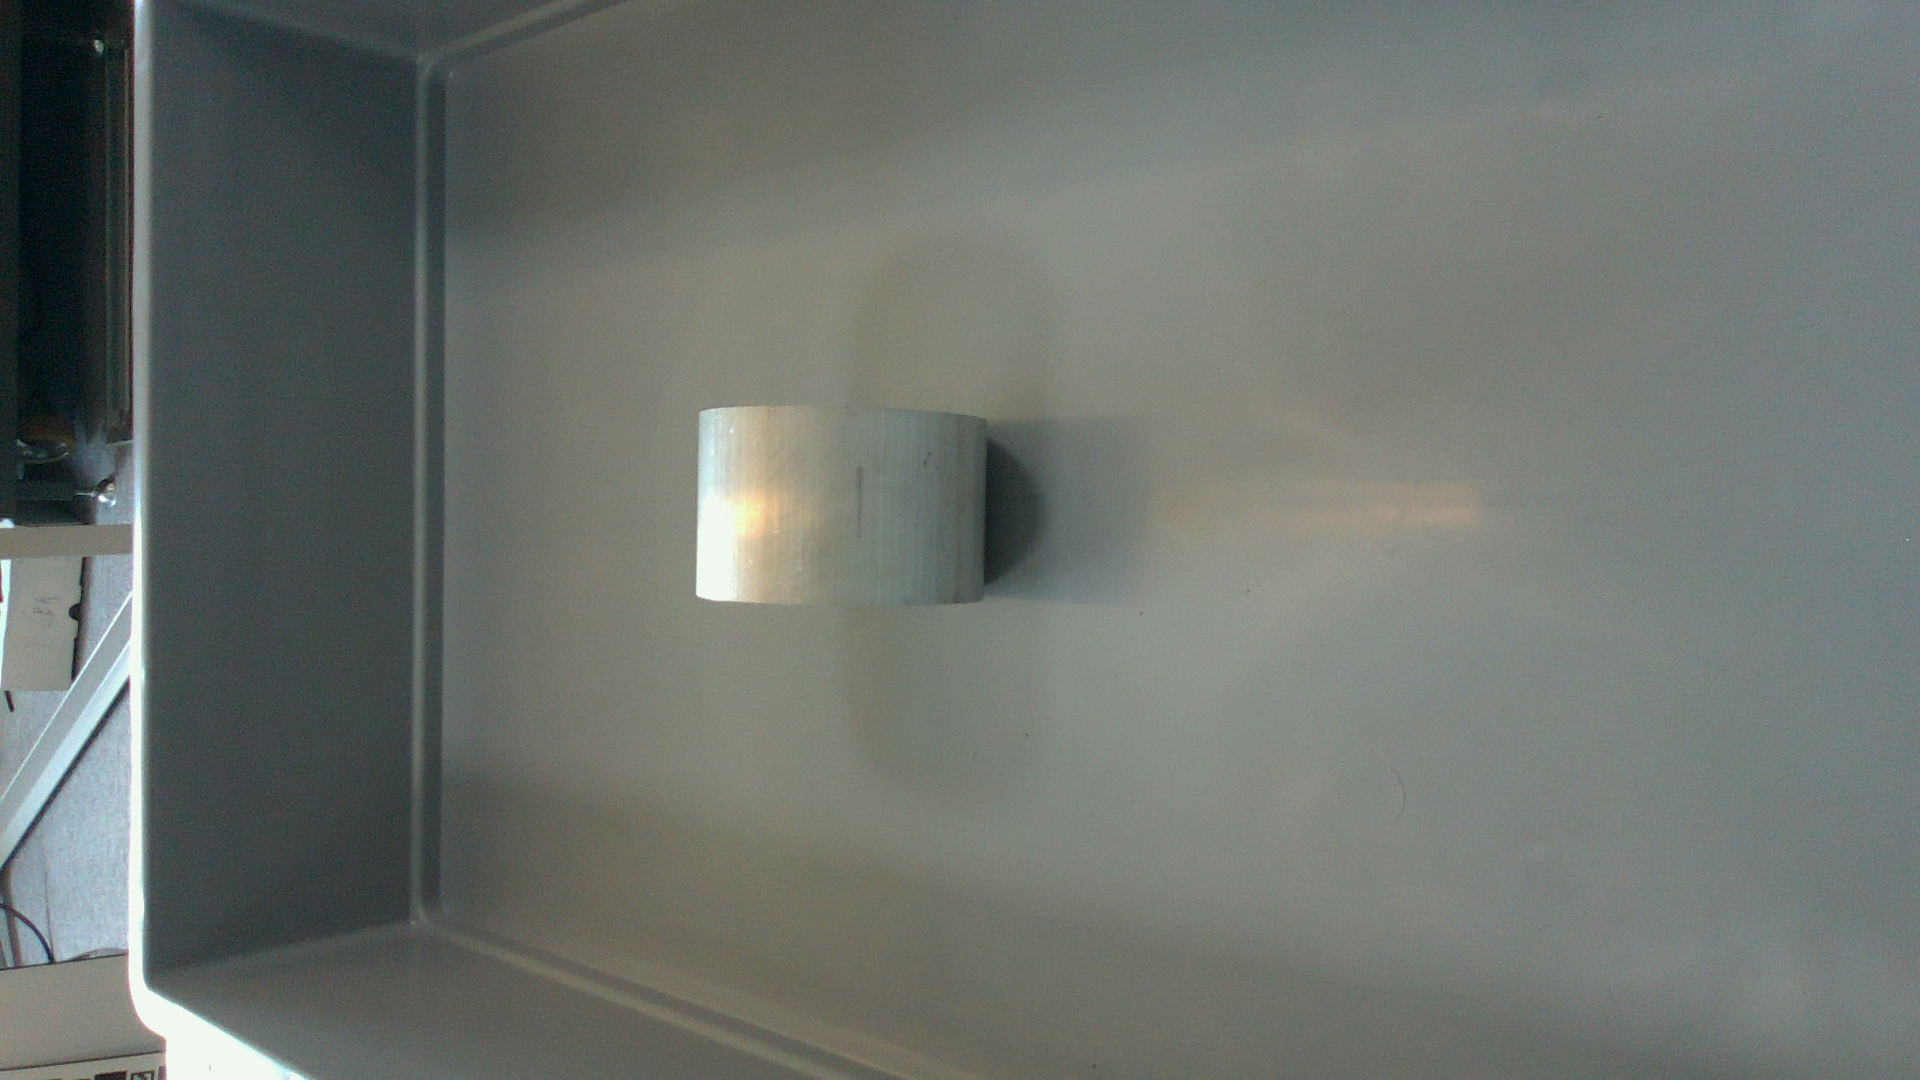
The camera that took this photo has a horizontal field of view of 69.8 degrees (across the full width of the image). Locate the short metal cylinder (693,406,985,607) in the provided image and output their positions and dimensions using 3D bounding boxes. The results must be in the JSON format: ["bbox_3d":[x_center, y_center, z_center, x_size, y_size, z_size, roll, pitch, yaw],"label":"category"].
[{"bbox_3d":[-0.034,-0.009,0.384,0.080,0.080,0.050,2,92,40],"label":"short metal cylinder"}]
